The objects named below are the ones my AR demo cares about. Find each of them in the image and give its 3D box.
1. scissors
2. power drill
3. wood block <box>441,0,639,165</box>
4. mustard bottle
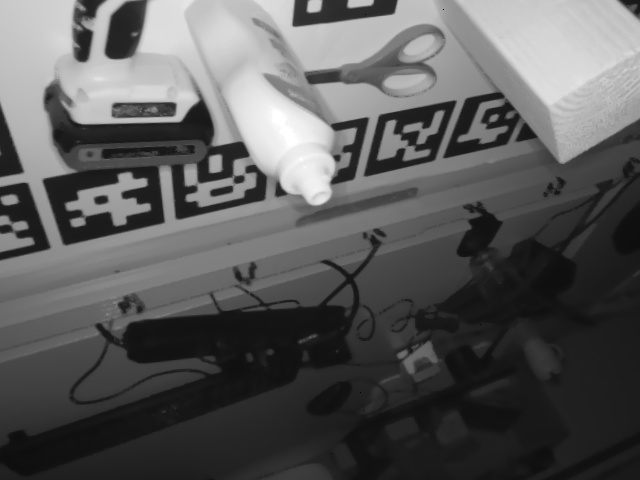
[{"bbox_3d":[0.065,-0.155,0.658,0.205,0.016,0.086,-13,147,-20],"label":"scissors"},{"bbox_3d":[-0.091,-0.168,0.501,0.187,0.057,0.184,-5,134,-29],"label":"power drill"},{"bbox_3d":[0.179,-0.172,0.561,0.091,0.206,0.090,-30,145,6],"label":"wood block"},{"bbox_3d":[-0.031,-0.103,0.523,0.058,0.191,0.097,-38,143,15],"label":"mustard bottle"}]
